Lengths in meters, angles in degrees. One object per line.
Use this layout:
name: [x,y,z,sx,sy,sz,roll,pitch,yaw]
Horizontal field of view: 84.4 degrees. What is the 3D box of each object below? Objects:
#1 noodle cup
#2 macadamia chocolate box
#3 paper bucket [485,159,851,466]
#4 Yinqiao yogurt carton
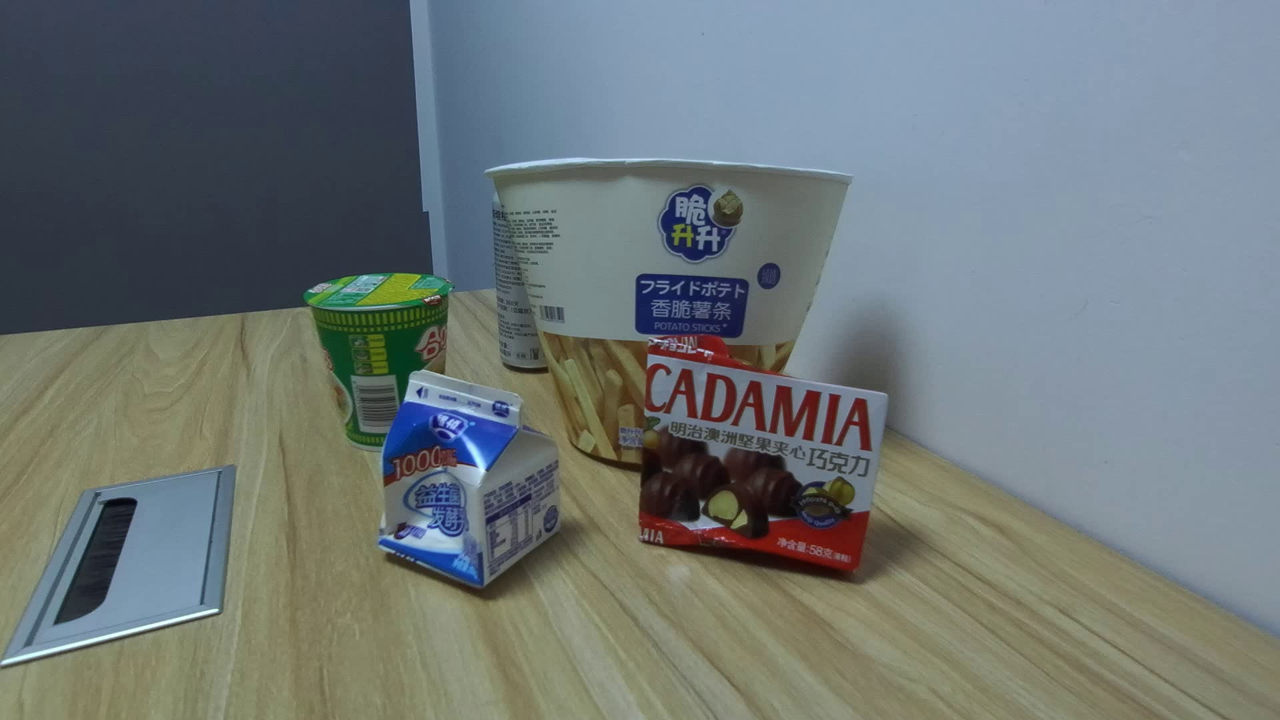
noodle cup: [-0.181,0.001,0.507,0.097,0.110,0.097,1,20,0]
macadamia chocolate box: [0.064,0.048,0.383,0.126,0.112,0.056,8,20,17]
paper bucket: [0.015,-0.041,0.501,0.219,0.199,0.147,-6,20,-21]
Yinqiao yogurt carton: [-0.091,0.057,0.381,0.077,0.094,0.071,11,16,24]
